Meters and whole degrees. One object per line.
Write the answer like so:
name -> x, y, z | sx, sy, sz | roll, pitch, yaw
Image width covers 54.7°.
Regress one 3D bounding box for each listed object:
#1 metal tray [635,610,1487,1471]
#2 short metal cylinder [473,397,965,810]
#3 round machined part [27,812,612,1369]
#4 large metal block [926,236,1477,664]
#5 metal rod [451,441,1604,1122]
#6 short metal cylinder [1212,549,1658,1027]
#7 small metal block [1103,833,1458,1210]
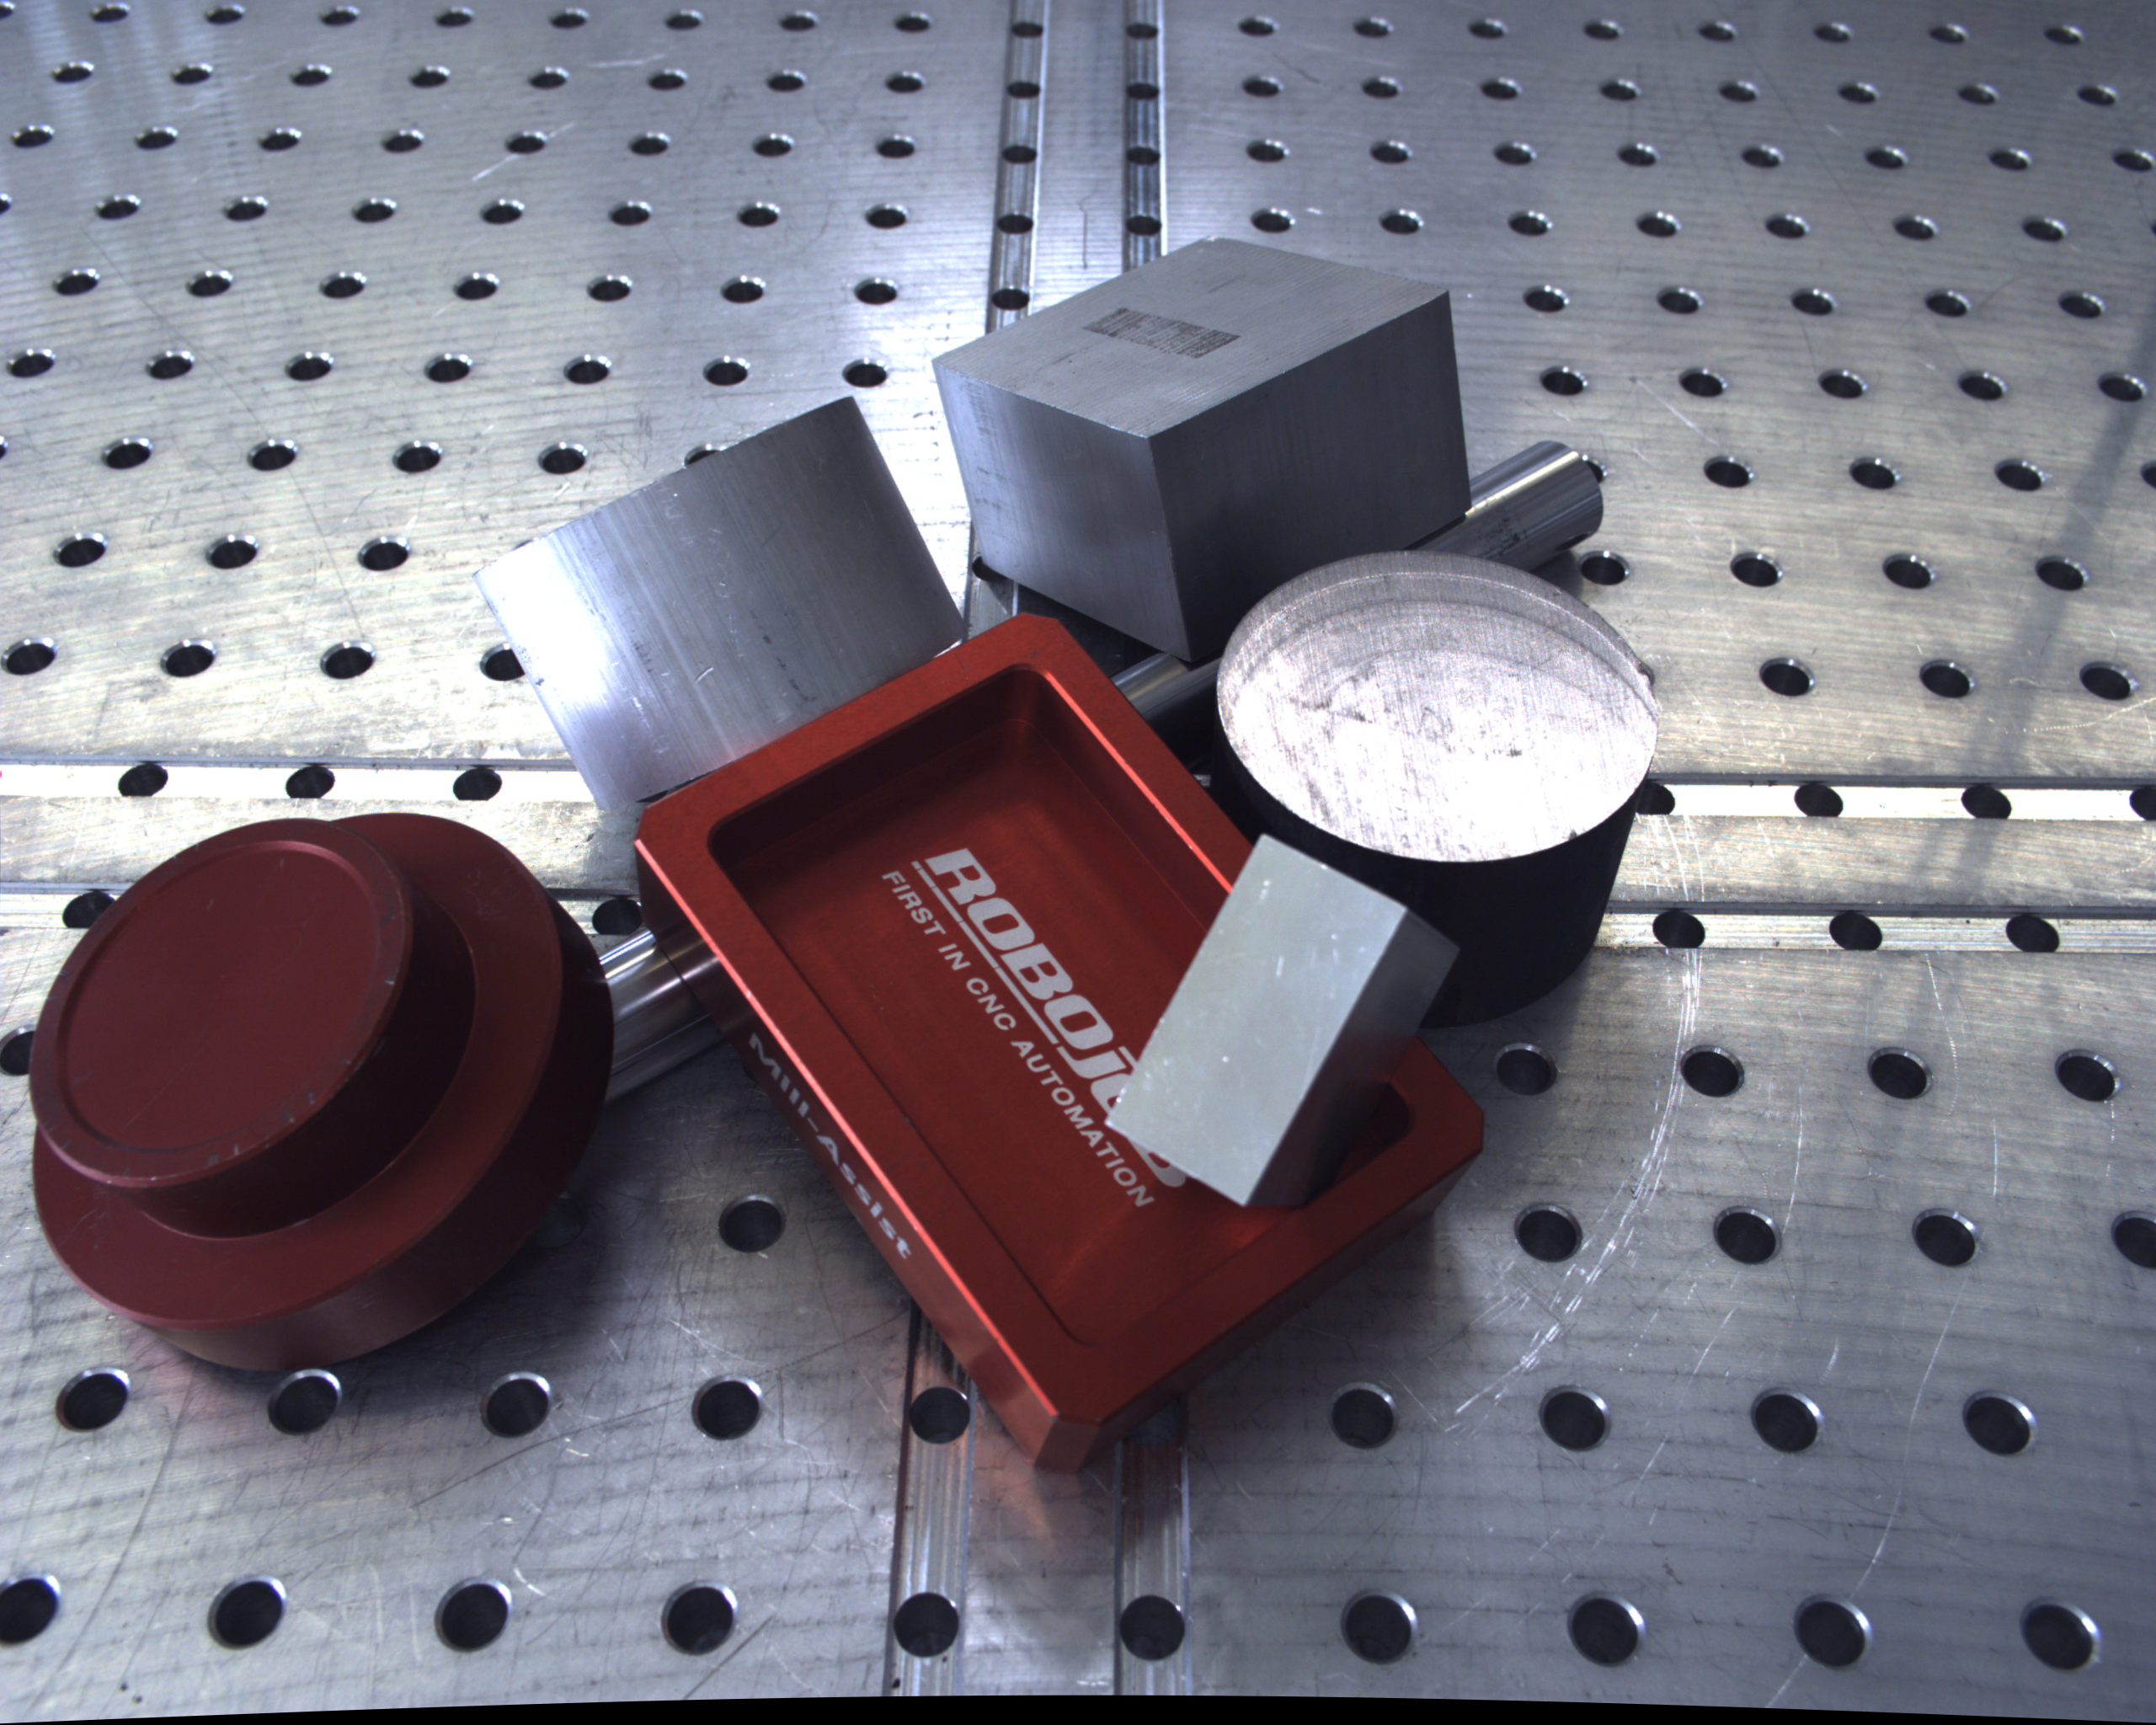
metal tray -> -0.005, 0.026, 0.364 | 0.091, 0.030, 0.130 | -31, 69, -23
short metal cylinder -> -0.069, -0.051, 0.407 | 0.080, 0.050, 0.080 | -24, 12, 6
round machined part -> -0.133, 0.031, 0.352 | 0.098, 0.042, 0.098 | -8, 55, 13
large metal block -> 0.027, -0.093, 0.455 | 0.081, 0.050, 0.080 | -30, 37, -23
metal rod -> -0.008, -0.014, 0.421 | 0.302, 0.025, 0.025 | -31, 57, -23
short metal cylinder -> 0.066, -0.015, 0.404 | 0.081, 0.050, 0.080 | 0, 50, 0
small metal block -> 0.034, 0.027, 0.331 | 0.025, 0.050, 0.050 | 29, 91, 20
